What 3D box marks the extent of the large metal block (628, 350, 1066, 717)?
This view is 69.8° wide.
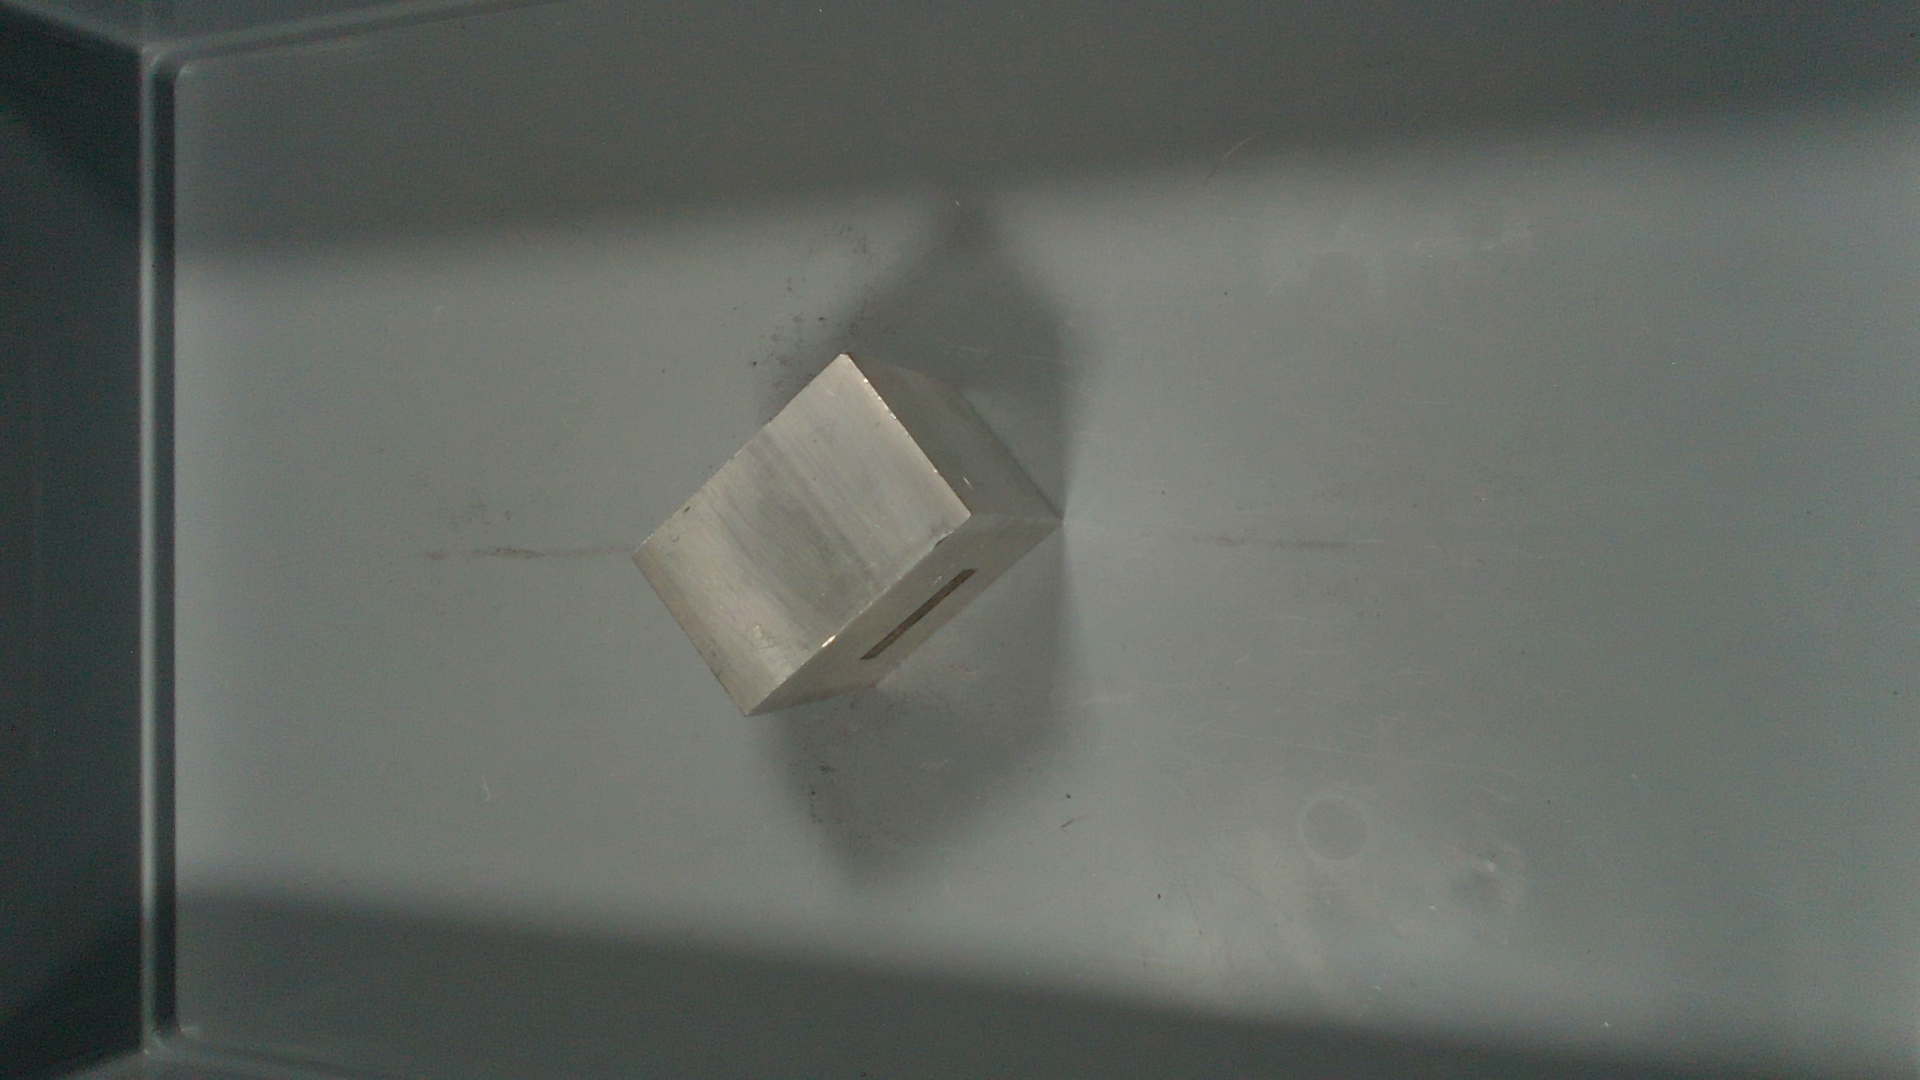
[{"bbox_3d":[-0.027,-0.001,0.374,0.080,0.080,0.050,-42,77,15],"label":"large metal block"}]
